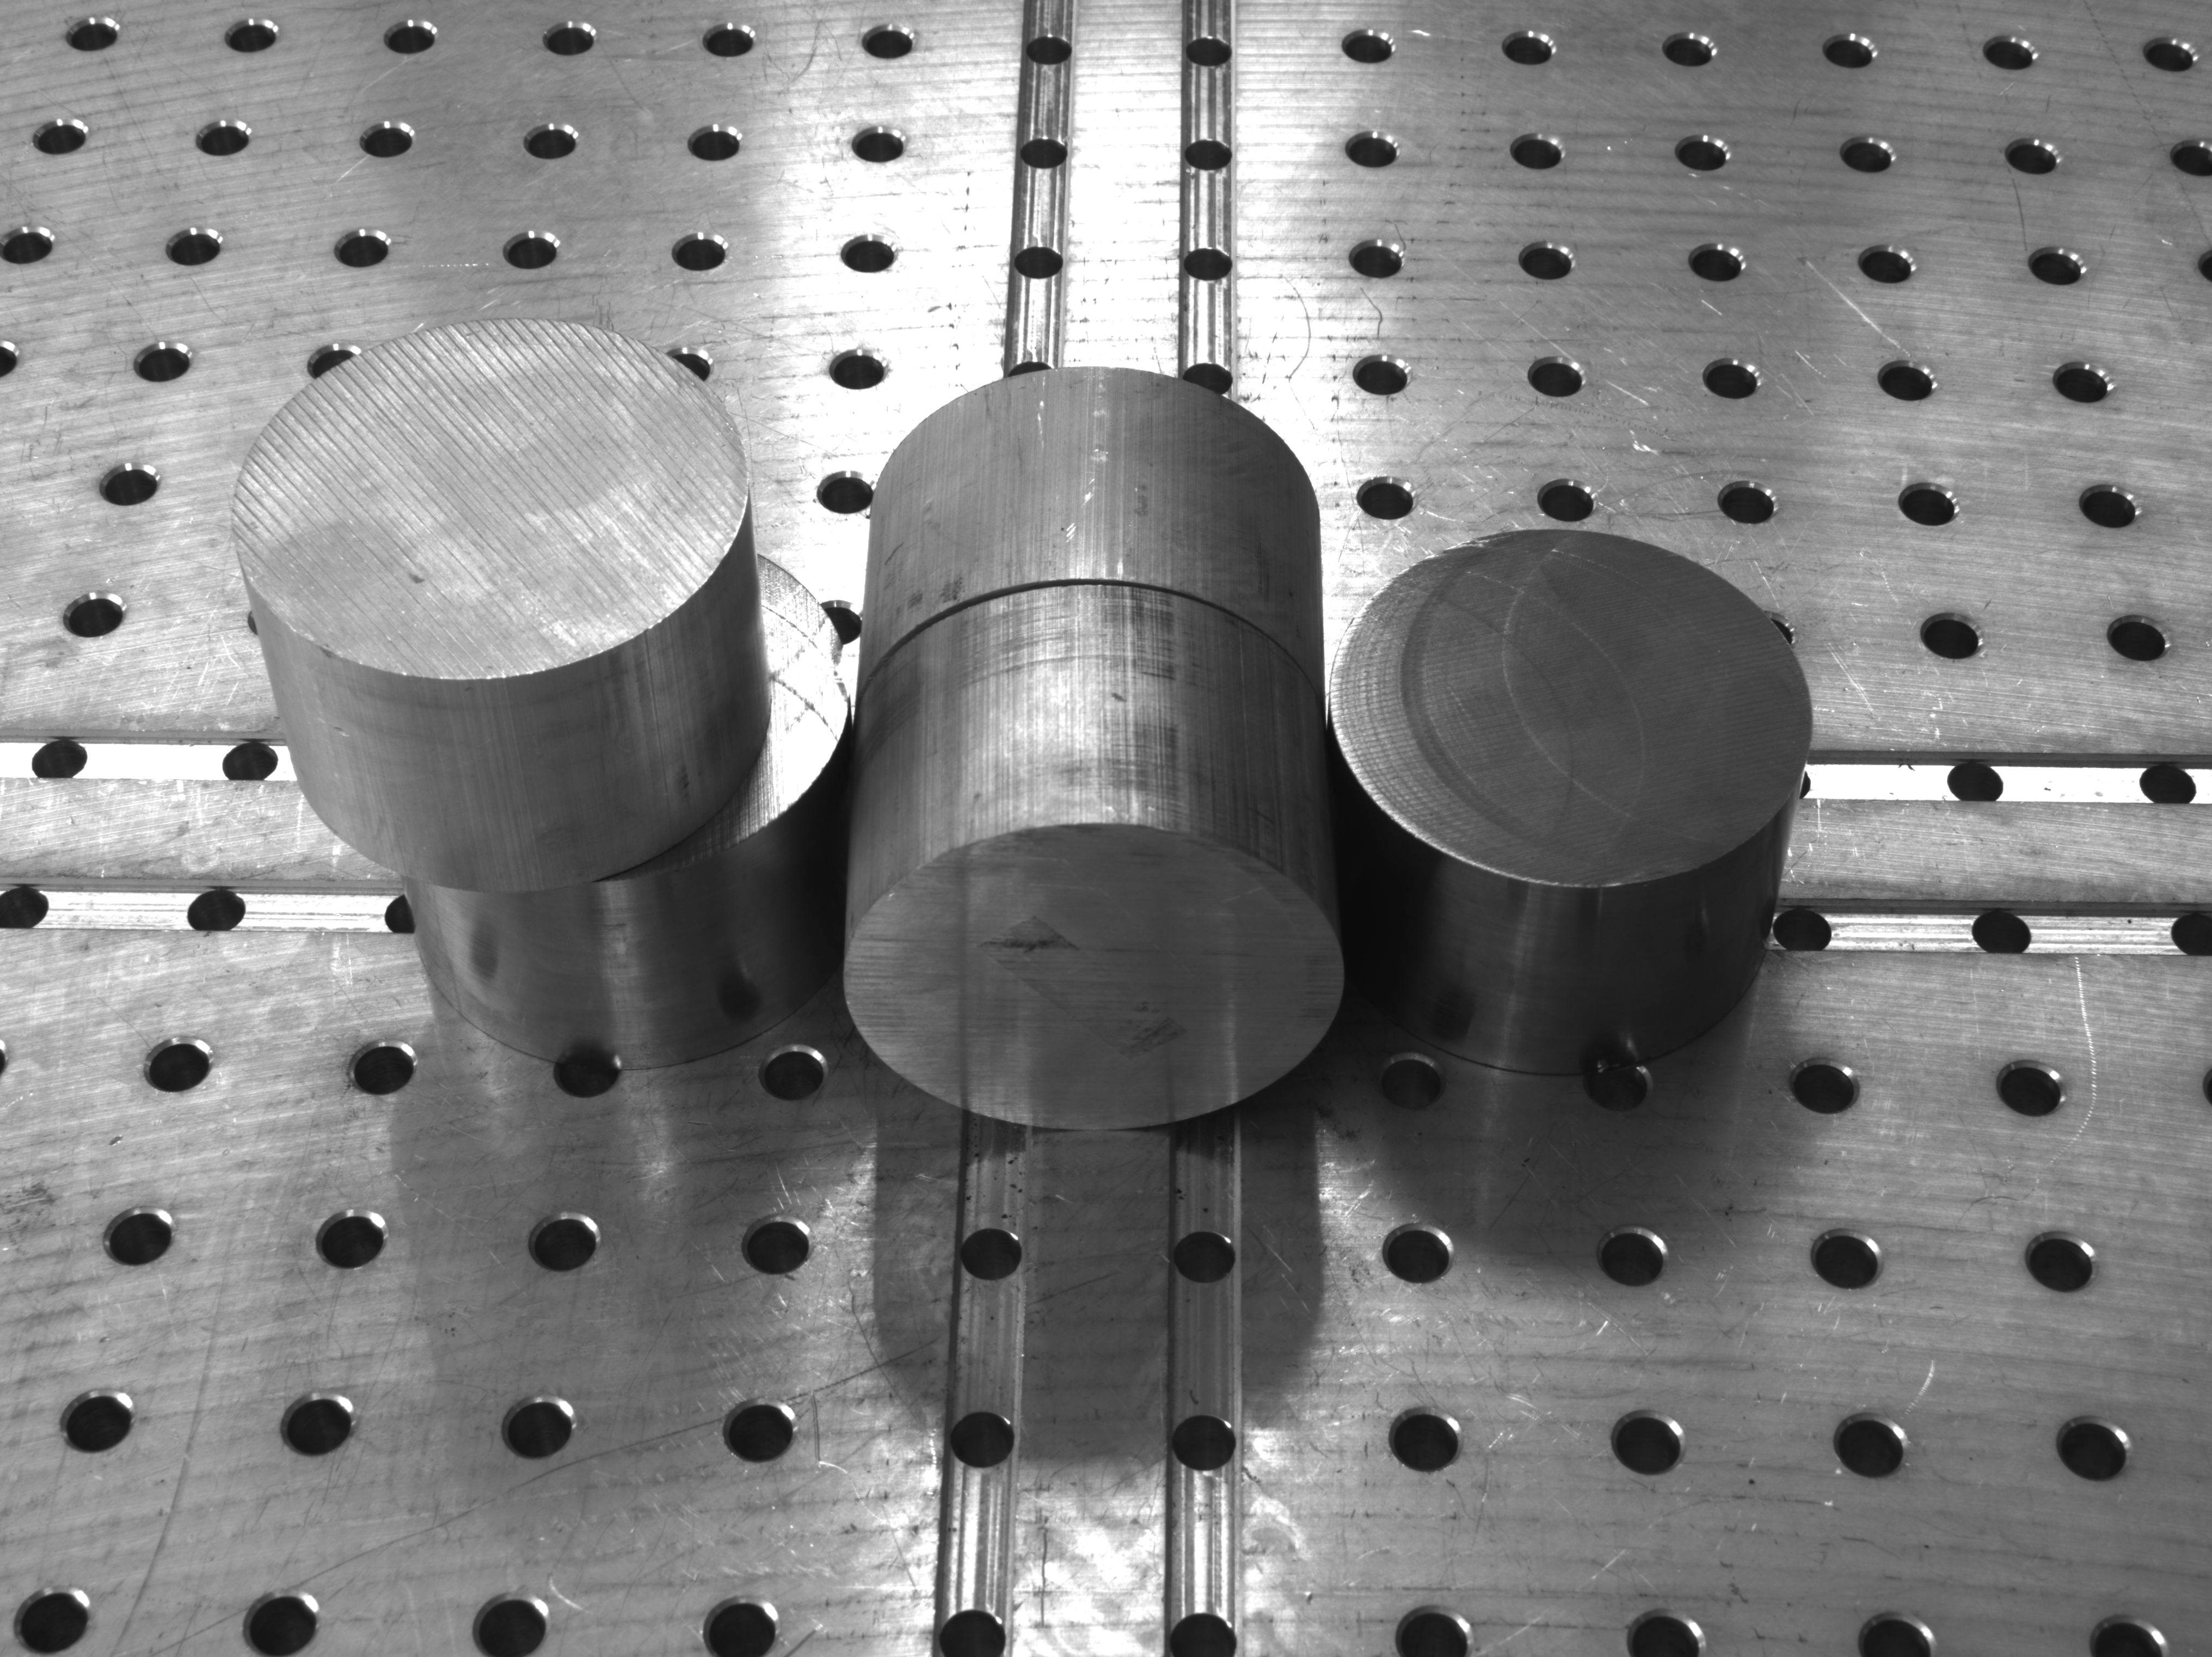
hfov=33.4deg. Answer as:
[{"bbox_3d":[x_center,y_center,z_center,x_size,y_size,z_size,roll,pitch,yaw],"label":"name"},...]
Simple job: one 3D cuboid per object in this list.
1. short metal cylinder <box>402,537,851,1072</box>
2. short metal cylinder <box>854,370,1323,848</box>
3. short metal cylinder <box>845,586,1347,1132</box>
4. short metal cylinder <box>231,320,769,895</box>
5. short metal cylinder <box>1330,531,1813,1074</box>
[{"bbox_3d":[-0.083,-0.005,0.634,0.080,0.050,0.080,0,50,0],"label":"short metal cylinder"},{"bbox_3d":[-0.002,-0.033,0.638,0.080,0.080,0.050,1,51,1],"label":"short metal cylinder"},{"bbox_3d":[-0.002,0.006,0.605,0.080,0.080,0.050,-1,50,-1],"label":"short metal cylinder"},{"bbox_3d":[-0.096,-0.036,0.593,0.080,0.050,0.080,0,50,0],"label":"short metal cylinder"},{"bbox_3d":[0.077,-0.005,0.633,0.080,0.050,0.080,0,50,0],"label":"short metal cylinder"}]
